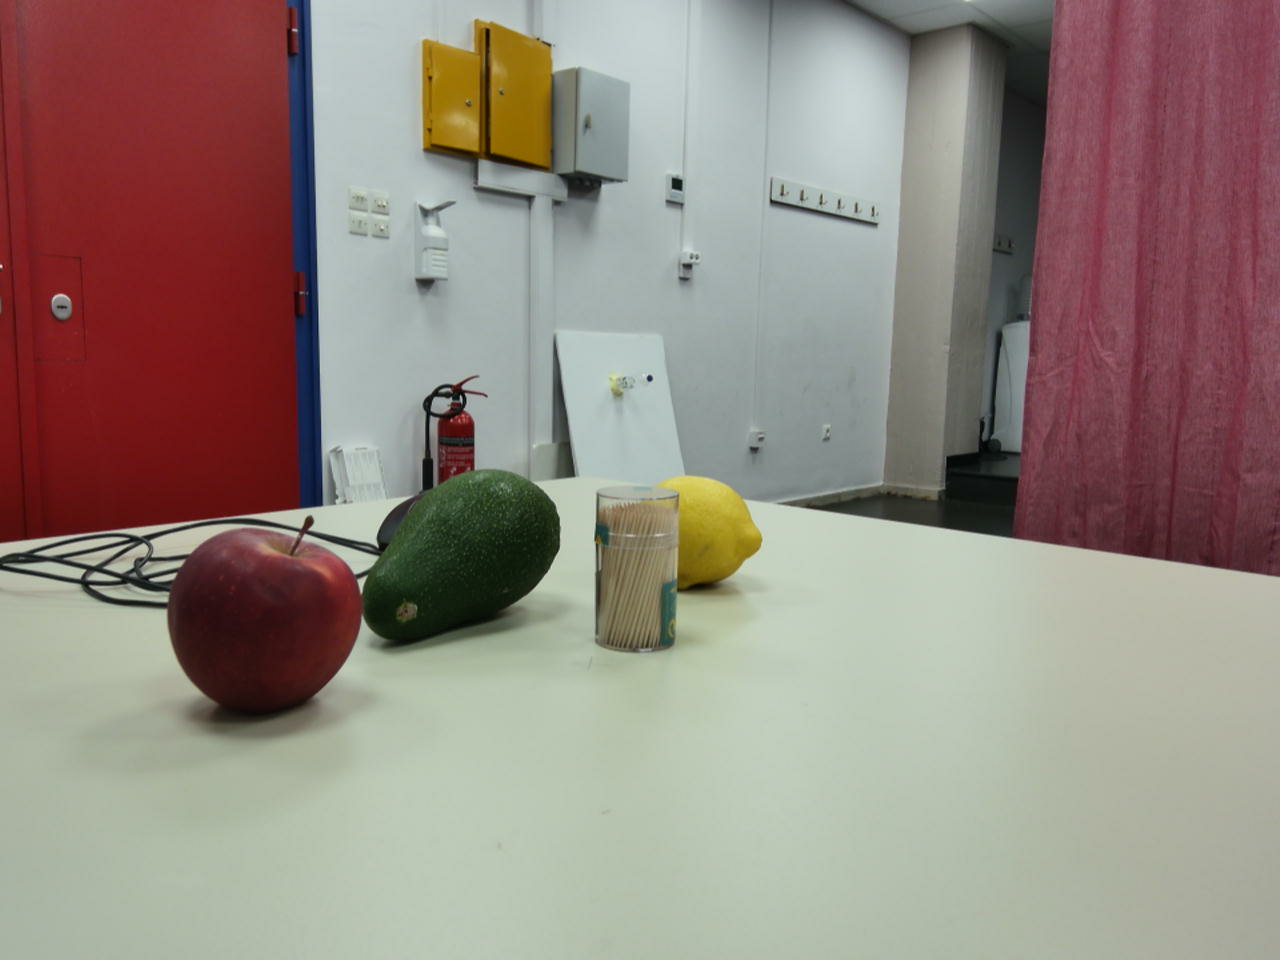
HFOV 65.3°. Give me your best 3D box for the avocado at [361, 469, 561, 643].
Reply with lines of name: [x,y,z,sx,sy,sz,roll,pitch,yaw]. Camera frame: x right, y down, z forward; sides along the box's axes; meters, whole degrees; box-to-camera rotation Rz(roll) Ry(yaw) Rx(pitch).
avocado: [-0.095,0.034,0.512,0.123,0.076,0.074,-4,8,-42]
